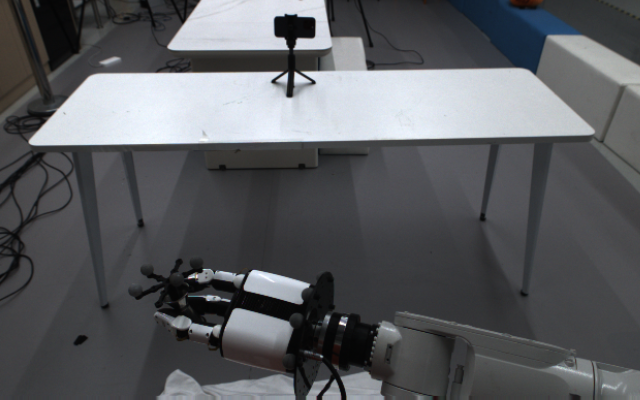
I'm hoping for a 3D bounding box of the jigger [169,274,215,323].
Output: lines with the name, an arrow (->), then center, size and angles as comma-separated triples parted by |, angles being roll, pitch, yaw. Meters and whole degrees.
jigger -> -0.182, 0.148, 0.654 | 0.043, 0.071, 0.043 | -10, 32, 6
